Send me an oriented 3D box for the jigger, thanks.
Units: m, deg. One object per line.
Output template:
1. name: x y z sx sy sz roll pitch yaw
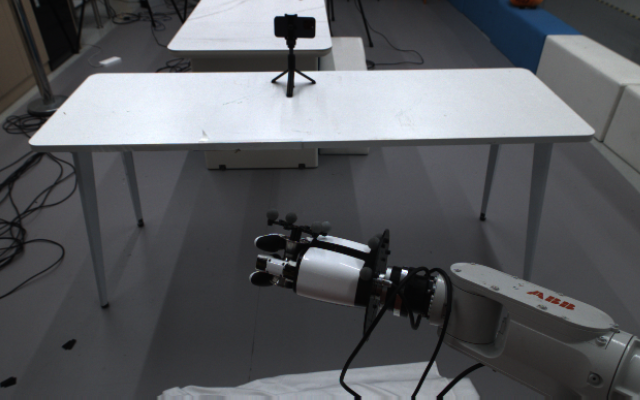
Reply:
1. jigger: -0.041 0.090 0.706 0.043 0.071 0.043 14 1 0
